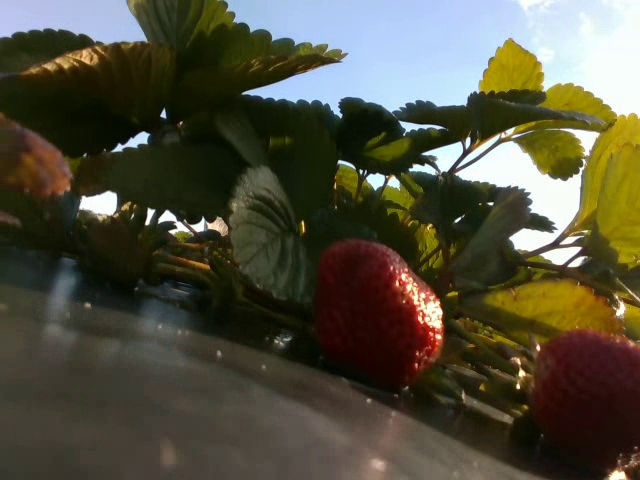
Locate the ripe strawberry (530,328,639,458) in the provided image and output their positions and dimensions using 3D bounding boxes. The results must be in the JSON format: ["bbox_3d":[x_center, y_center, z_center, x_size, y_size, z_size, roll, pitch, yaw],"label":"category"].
[{"bbox_3d":[0.084,0.041,0.165,0.043,0.038,0.053,41,-26,-11],"label":"ripe strawberry"}]

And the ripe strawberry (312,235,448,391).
[{"bbox_3d":[0.018,0.021,0.181,0.039,0.054,0.048,-28,40,-2],"label":"ripe strawberry"}]
